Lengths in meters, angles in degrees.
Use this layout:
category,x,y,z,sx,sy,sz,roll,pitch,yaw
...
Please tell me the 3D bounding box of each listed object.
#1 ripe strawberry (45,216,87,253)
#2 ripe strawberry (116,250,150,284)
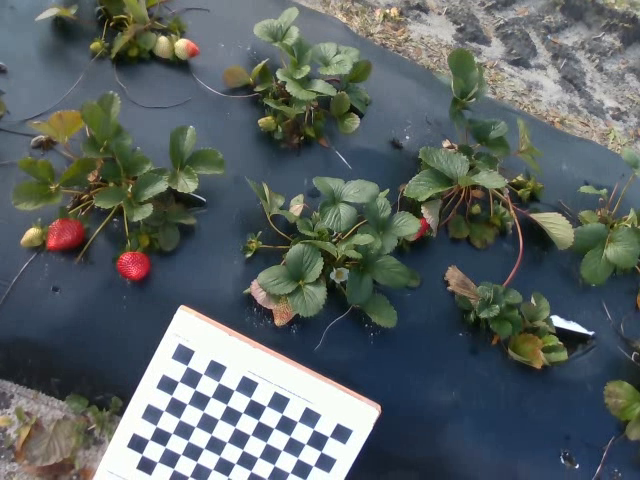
category,x,y,z,sx,sy,sz,roll,pitch,yaw
ripe strawberry,-0.235,-0.002,0.592,0.035,0.041,0.036,14,34,3
ripe strawberry,-0.172,0.028,0.598,0.034,0.037,0.039,33,20,-24
